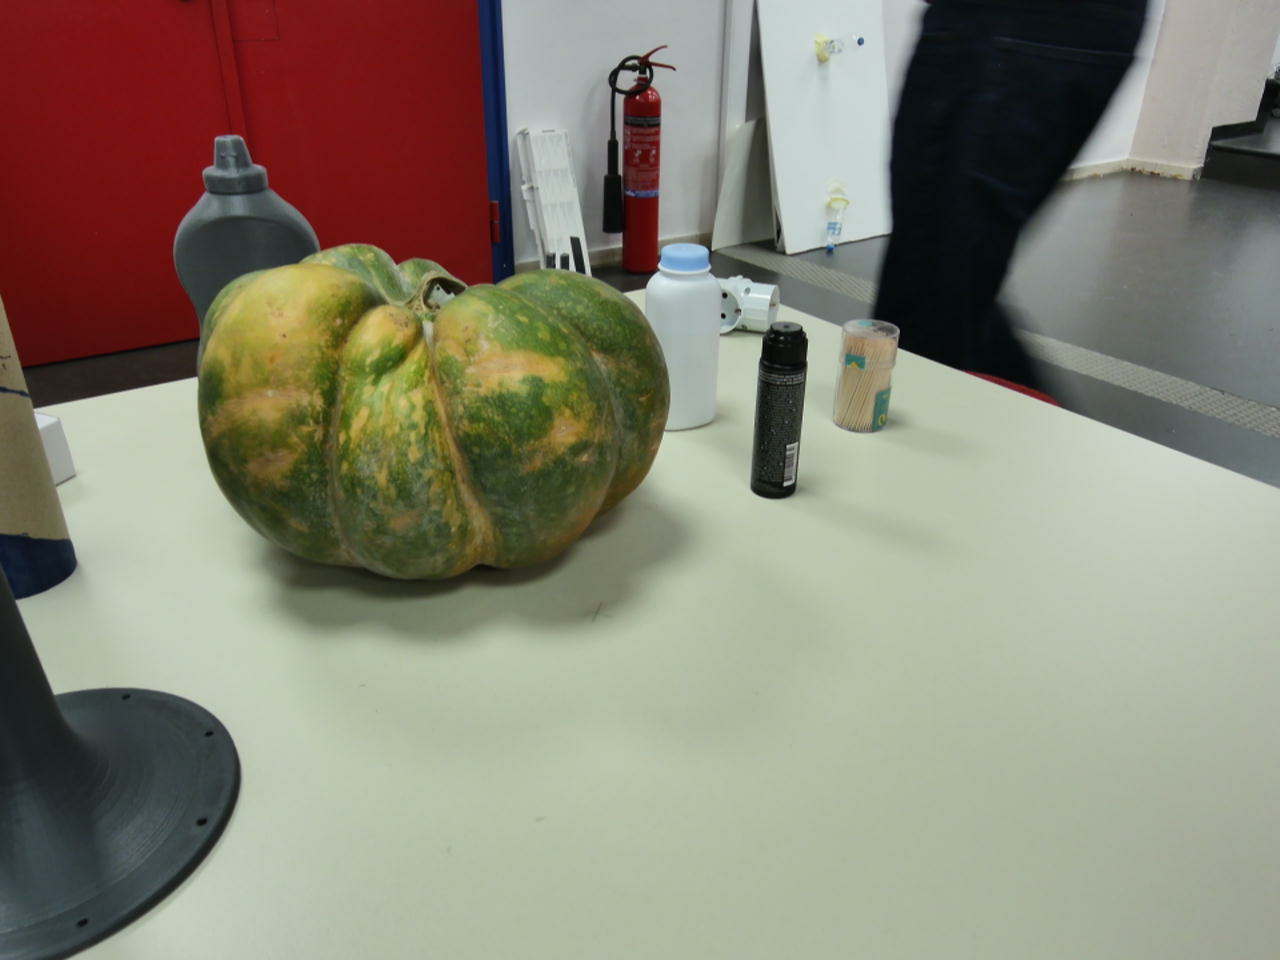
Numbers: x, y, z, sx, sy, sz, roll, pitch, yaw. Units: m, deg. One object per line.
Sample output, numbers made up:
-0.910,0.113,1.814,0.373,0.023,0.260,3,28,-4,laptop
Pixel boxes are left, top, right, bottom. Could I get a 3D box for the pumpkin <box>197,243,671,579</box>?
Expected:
-0.119,-0.048,0.563,0.270,0.173,0.237,1,26,1,pumpkin
